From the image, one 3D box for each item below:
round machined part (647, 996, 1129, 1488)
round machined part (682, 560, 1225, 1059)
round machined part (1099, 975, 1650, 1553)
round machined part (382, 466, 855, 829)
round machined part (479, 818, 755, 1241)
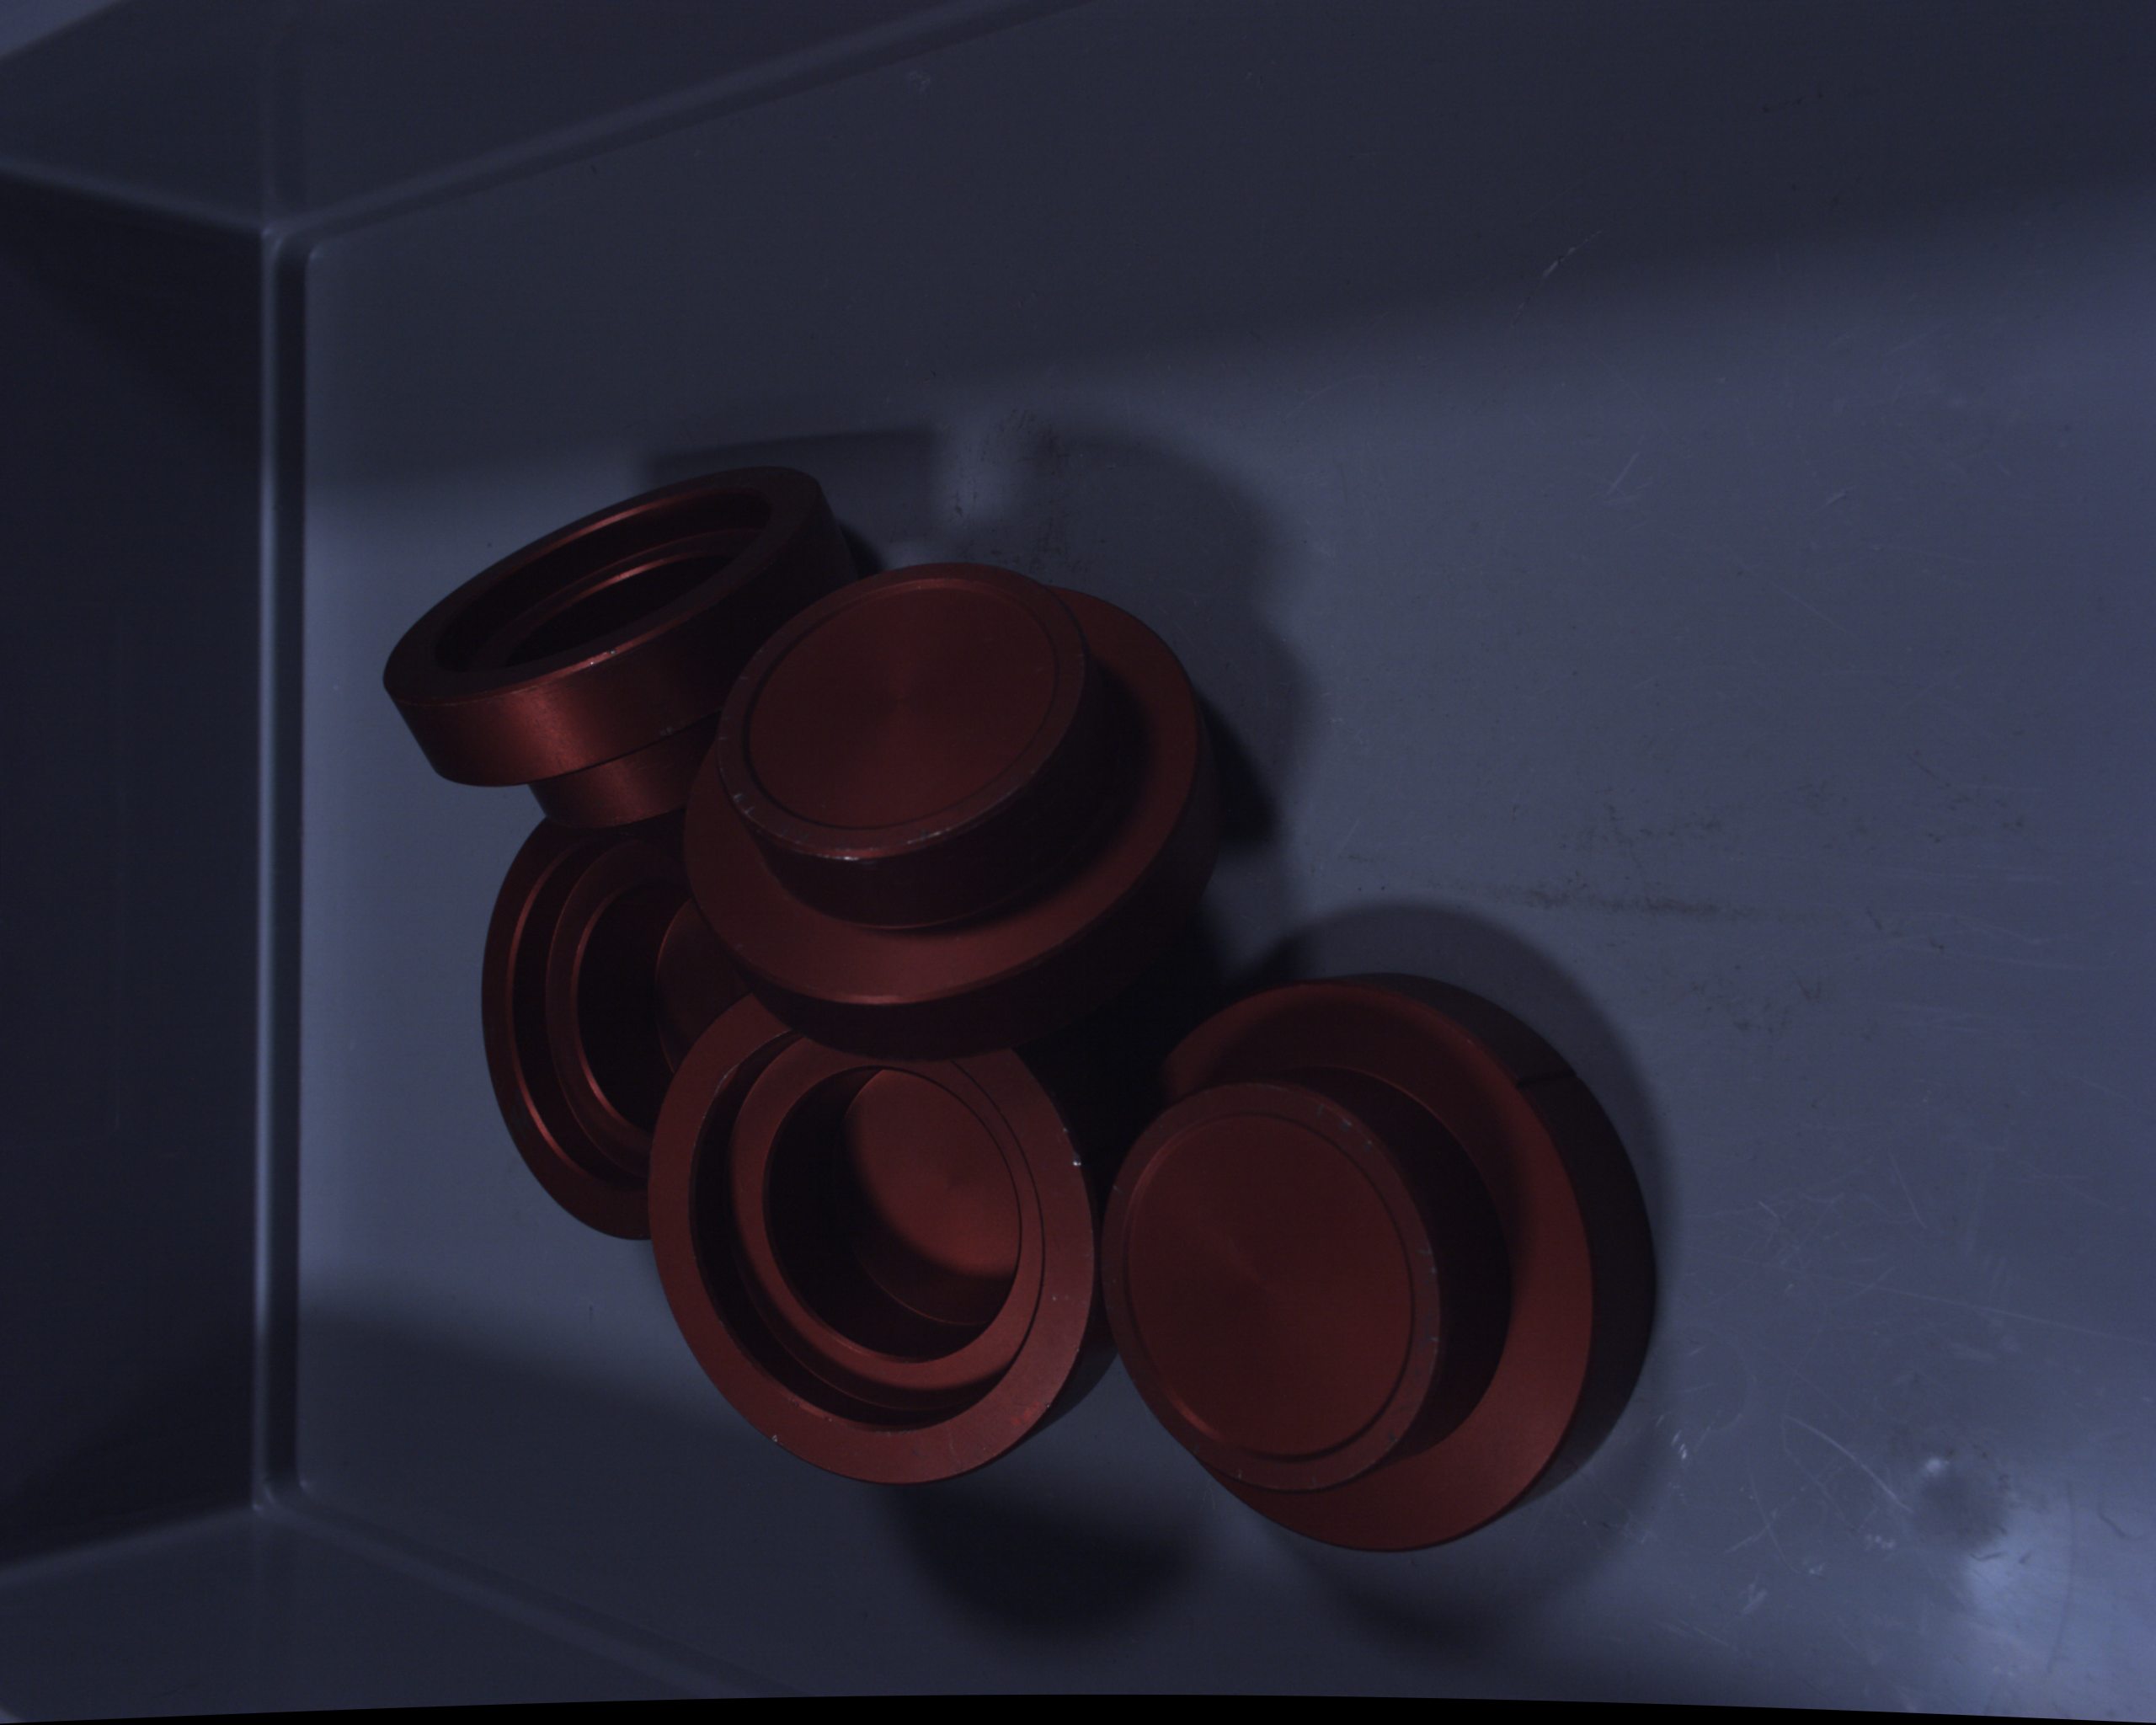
[{"bbox_3d":[-0.031,0.066,0.402,0.098,0.042,0.097,3,97,26],"label":"round machined part"},{"bbox_3d":[-0.026,-0.016,0.377,0.098,0.042,0.098,-9,50,11],"label":"round machined part"},{"bbox_3d":[0.043,0.068,0.356,0.098,0.042,0.097,0,90,39],"label":"round machined part"},{"bbox_3d":[-0.092,-0.043,0.444,0.098,0.098,0.042,4,128,39],"label":"round machined part"},{"bbox_3d":[-0.086,0.032,0.461,0.098,0.042,0.097,0,90,39],"label":"round machined part"}]
